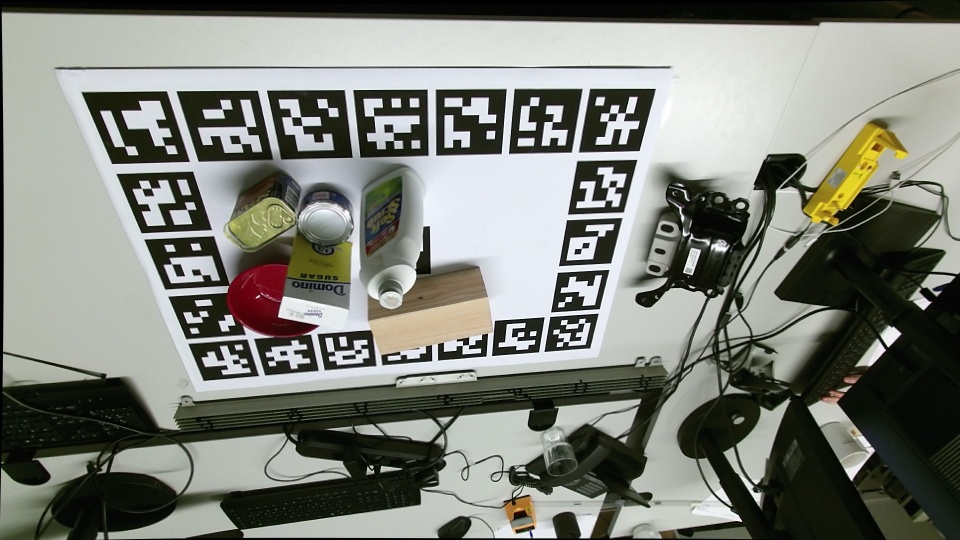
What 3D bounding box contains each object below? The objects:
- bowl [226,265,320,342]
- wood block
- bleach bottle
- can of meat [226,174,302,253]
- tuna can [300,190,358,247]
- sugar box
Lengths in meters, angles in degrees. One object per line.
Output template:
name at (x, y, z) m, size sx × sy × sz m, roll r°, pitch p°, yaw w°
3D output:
bowl at (-0.337, 0.046, 0.895) m, size 0.162 × 0.055 × 0.162 m, roll -8°, pitch 129°, yaw -10°
wood block at (-0.080, 0.073, 0.951) m, size 0.207 × 0.089 × 0.091 m, roll -11°, pitch 124°, yaw -2°
bleach bottle at (-0.115, -0.044, 0.749) m, size 0.103 × 0.249 × 0.068 m, roll -25°, pitch 129°, yaw 7°
can of meat at (-0.312, -0.084, 0.788) m, size 0.102 × 0.083 × 0.058 m, roll -27°, pitch 130°, yaw 11°
tuna can at (-0.232, -0.080, 0.830) m, size 0.086 × 0.033 × 0.086 m, roll -6°, pitch 125°, yaw -8°
sugar box at (-0.245, 0.012, 0.808) m, size 0.093 × 0.175 × 0.045 m, roll 12°, pitch 121°, yaw -24°
